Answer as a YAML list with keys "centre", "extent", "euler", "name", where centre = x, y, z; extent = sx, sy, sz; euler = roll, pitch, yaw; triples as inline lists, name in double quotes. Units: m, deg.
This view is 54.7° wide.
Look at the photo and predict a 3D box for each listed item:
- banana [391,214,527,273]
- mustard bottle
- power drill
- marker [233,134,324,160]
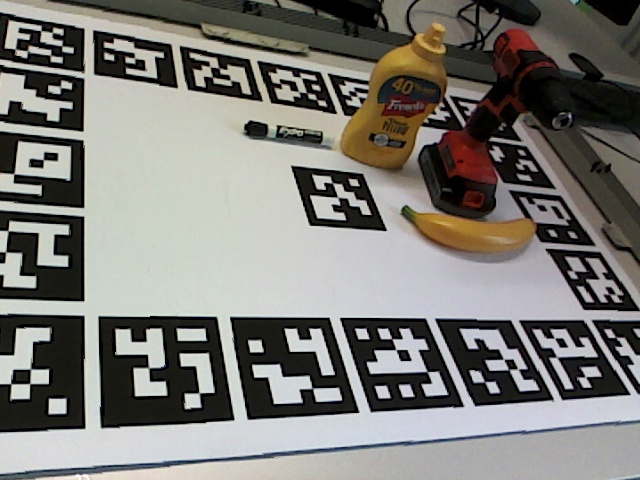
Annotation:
- centre: [0.187, 0.009, 0.792]
  extent: [0.196, 0.039, 0.074]
  euler: [9, 48, -17]
  name: "banana"
- centre: [0.093, -0.163, 0.794]
  extent: [0.096, 0.191, 0.058]
  euler: [13, 45, -17]
  name: "mustard bottle"
- centre: [0.209, -0.119, 0.785]
  extent: [0.057, 0.187, 0.185]
  euler: [15, 42, -16]
  name: "power drill"
- centre: [-0.054, -0.122, 0.808]
  extent: [0.120, 0.019, 0.020]
  euler: [5, 49, -22]
  name: "marker"
